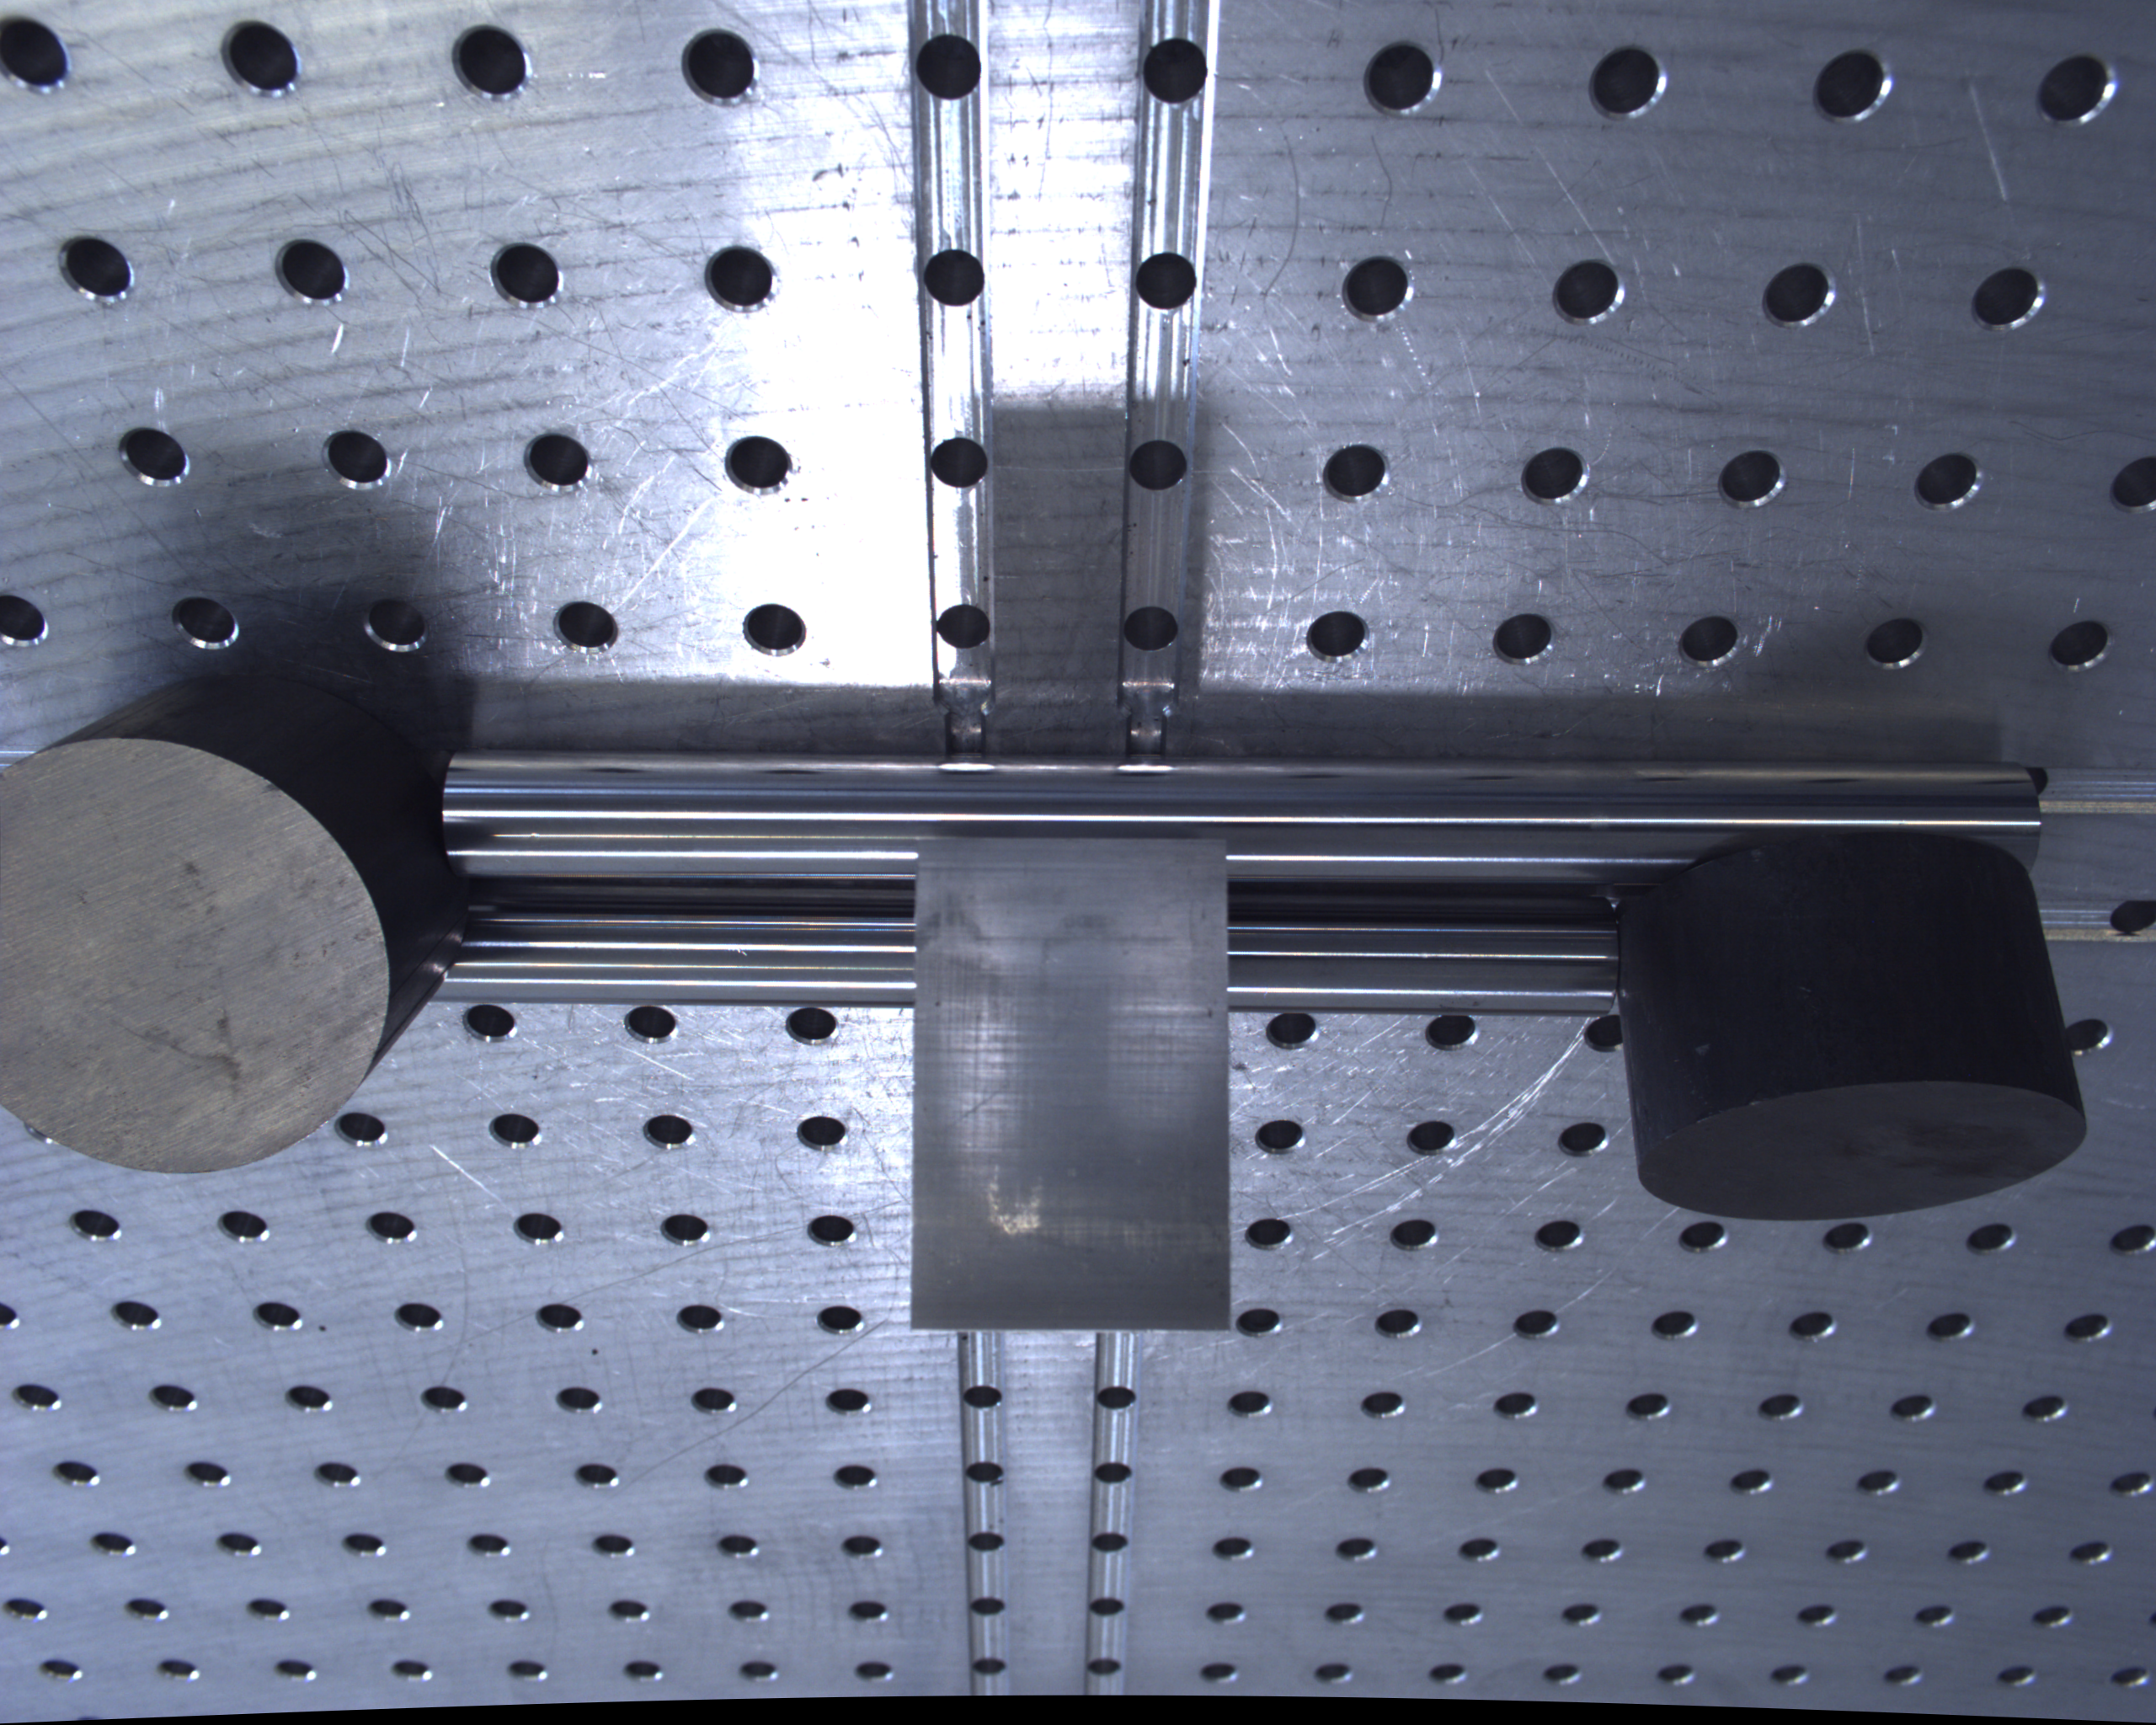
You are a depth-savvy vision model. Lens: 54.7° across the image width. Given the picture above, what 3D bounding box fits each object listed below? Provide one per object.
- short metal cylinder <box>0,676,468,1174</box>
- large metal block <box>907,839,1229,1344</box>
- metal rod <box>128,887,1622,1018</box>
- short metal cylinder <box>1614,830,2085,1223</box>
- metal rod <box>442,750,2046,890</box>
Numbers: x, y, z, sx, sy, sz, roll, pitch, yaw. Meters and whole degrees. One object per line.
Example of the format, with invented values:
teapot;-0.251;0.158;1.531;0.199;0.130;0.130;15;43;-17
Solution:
short metal cylinder;-0.160;0.010;0.383;0.081;0.050;0.079;0;107;-1
large metal block;-0.002;0.041;0.371;0.050;0.080;0.080;1;172;-1
metal rod;-0.043;0.018;0.426;0.302;0.025;0.025;0;130;-1
short metal cylinder;0.148;0.034;0.408;0.081;0.050;0.080;0;152;0
metal rod;0.032;-0.008;0.404;0.302;0.025;0.025;1;130;-1
